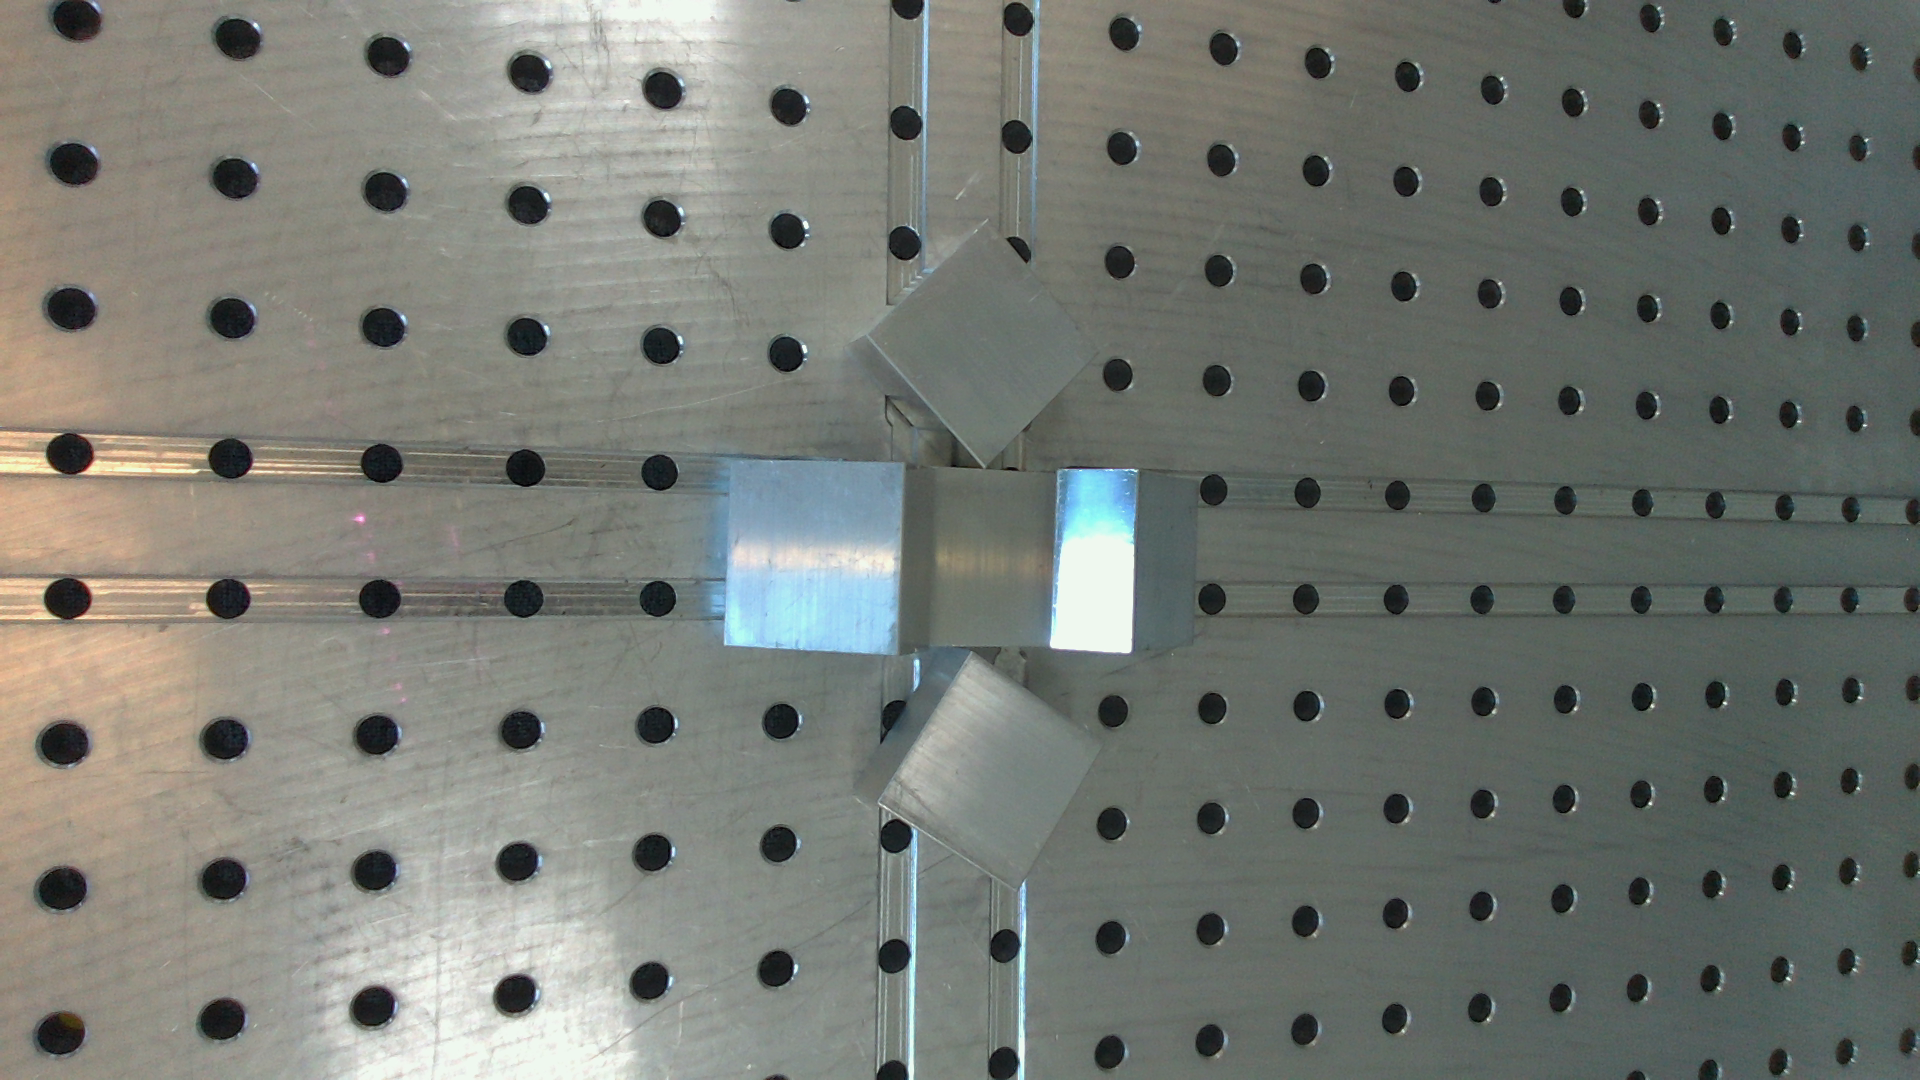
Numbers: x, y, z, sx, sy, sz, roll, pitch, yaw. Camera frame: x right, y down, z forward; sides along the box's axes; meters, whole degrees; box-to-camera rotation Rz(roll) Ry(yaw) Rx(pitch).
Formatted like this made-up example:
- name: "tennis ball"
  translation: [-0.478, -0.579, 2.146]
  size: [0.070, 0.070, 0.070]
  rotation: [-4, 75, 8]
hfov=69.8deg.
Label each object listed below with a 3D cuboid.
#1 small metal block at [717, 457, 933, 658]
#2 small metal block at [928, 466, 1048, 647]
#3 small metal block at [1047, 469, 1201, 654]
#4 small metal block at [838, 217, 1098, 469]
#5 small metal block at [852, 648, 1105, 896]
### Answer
- name: "small metal block"
  translation: [-0.036, 0.004, 0.369]
  size: [0.050, 0.025, 0.050]
  rotation: [2, 90, 17]
- name: "small metal block"
  translation: [0.003, 0.005, 0.396]
  size: [0.050, 0.025, 0.050]
  rotation: [1, 89, -20]
- name: "small metal block"
  translation: [0.048, 0.006, 0.399]
  size: [0.050, 0.025, 0.050]
  rotation: [4, 88, -60]
- name: "small metal block"
  translation: [0.002, -0.055, 0.397]
  size: [0.050, 0.025, 0.050]
  rotation: [-46, 103, -15]
- name: "small metal block"
  translation: [0.005, 0.065, 0.397]
  size: [0.050, 0.025, 0.050]
  rotation: [36, 79, -15]
